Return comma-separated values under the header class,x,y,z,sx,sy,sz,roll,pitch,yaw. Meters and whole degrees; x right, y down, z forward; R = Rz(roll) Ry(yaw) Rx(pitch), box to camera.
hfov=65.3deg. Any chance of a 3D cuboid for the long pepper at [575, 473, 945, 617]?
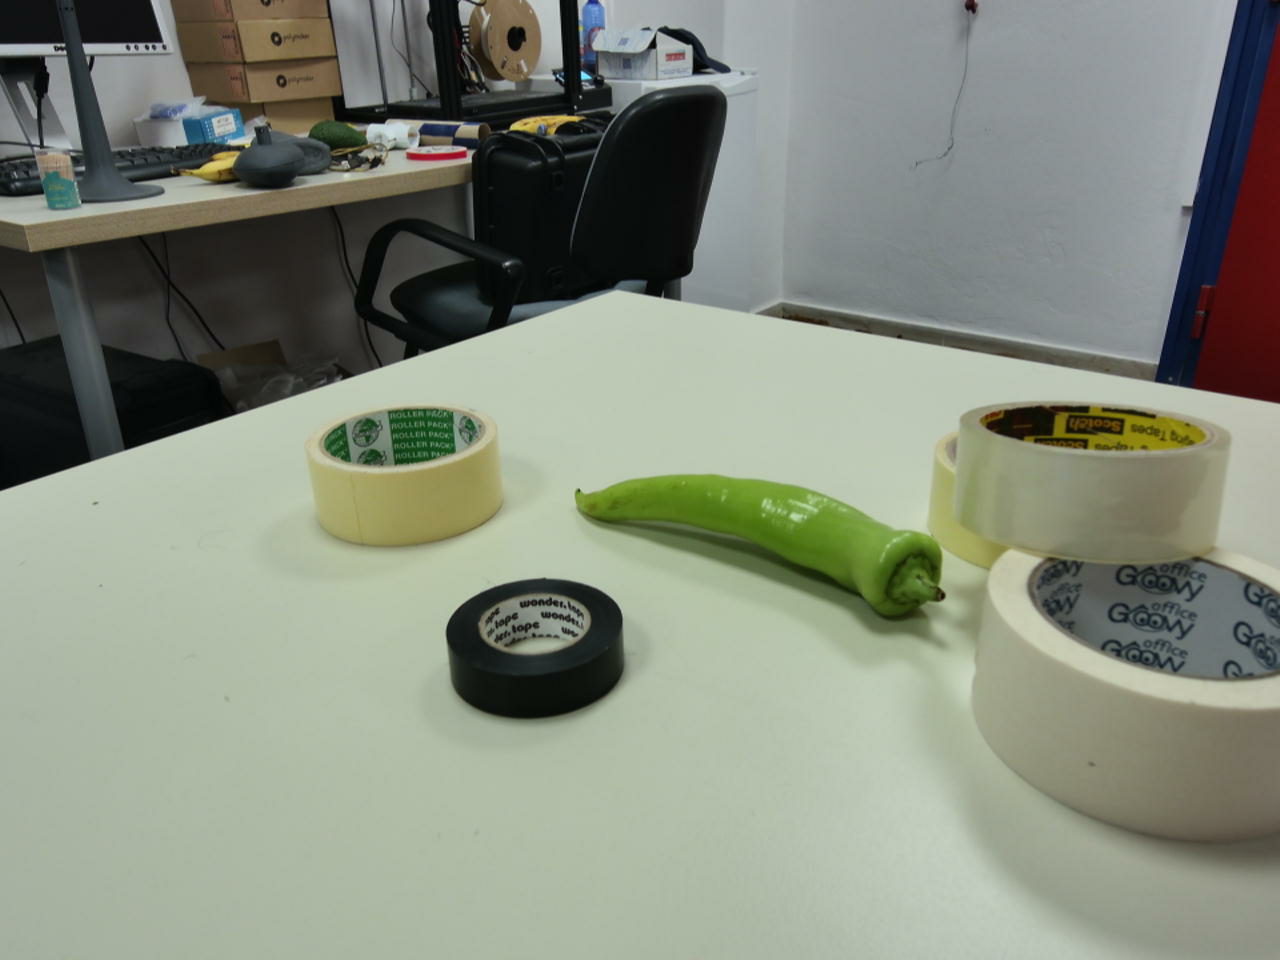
class,x,y,z,sx,sy,sz,roll,pitch,yaw
long pepper,0.049,0.017,0.444,0.197,0.038,0.046,19,29,37
